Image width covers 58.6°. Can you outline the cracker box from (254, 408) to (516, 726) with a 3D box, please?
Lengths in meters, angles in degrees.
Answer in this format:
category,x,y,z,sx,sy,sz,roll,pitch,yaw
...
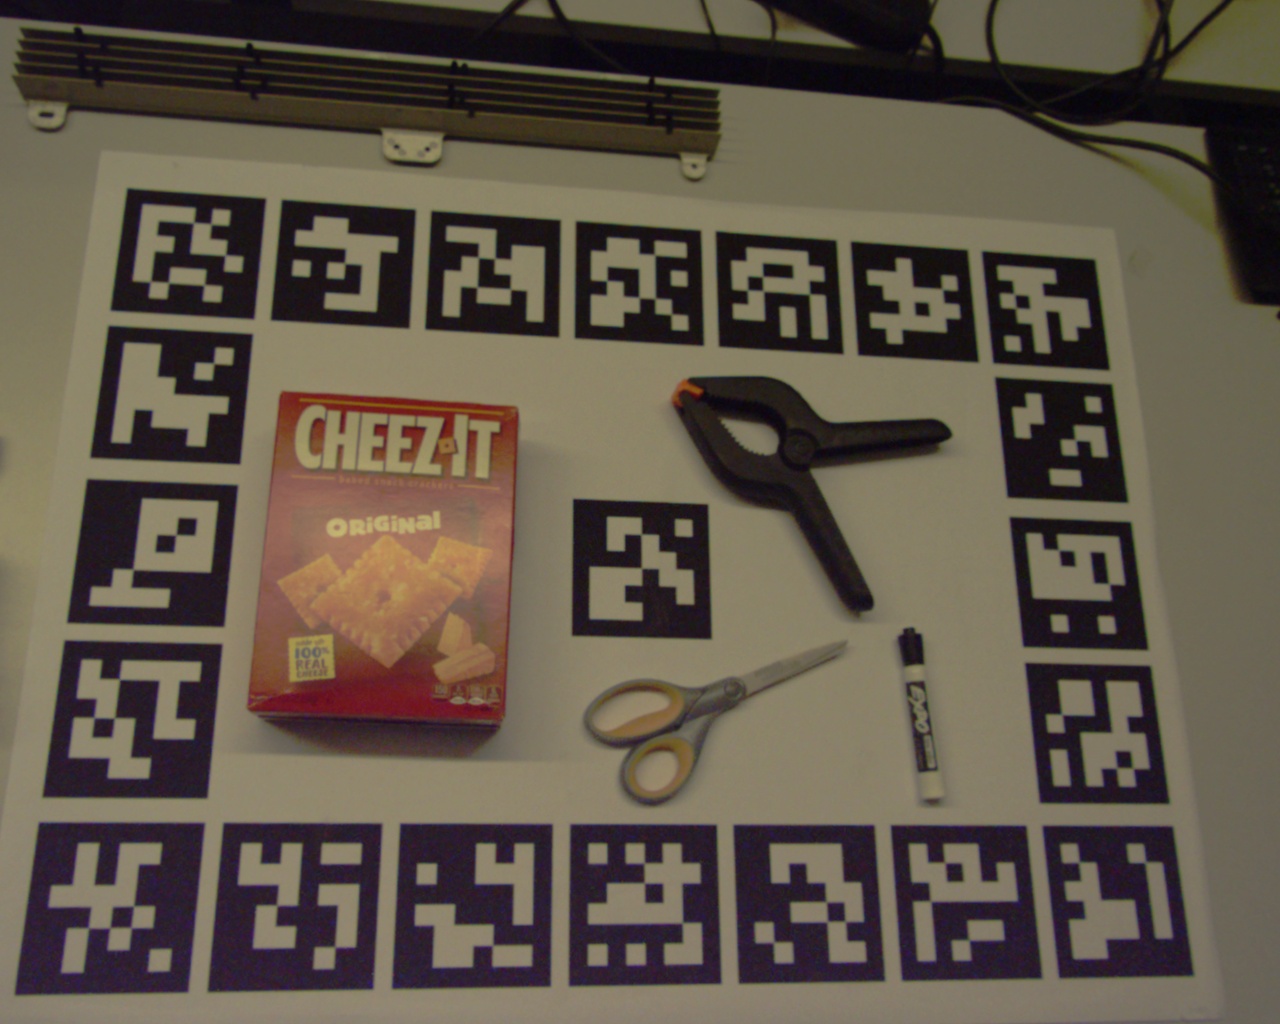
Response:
category,x,y,z,sx,sy,sz,roll,pitch,yaw
cracker box,-0.174,0.040,0.802,0.163,0.072,0.214,3,73,-7

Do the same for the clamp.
category,x,y,z,sx,sy,sz,roll,pitch,yaw
clamp,0.099,-0.044,0.899,0.203,0.037,0.165,31,70,1

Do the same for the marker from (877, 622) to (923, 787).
category,x,y,z,sx,sy,sz,roll,pitch,yaw
marker,0.193,0.142,0.849,0.019,0.020,0.121,-1,73,-9

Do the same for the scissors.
category,x,y,z,sx,sy,sz,roll,pitch,yaw
scissors,0.052,0.133,0.833,0.201,0.016,0.088,-27,77,-17
